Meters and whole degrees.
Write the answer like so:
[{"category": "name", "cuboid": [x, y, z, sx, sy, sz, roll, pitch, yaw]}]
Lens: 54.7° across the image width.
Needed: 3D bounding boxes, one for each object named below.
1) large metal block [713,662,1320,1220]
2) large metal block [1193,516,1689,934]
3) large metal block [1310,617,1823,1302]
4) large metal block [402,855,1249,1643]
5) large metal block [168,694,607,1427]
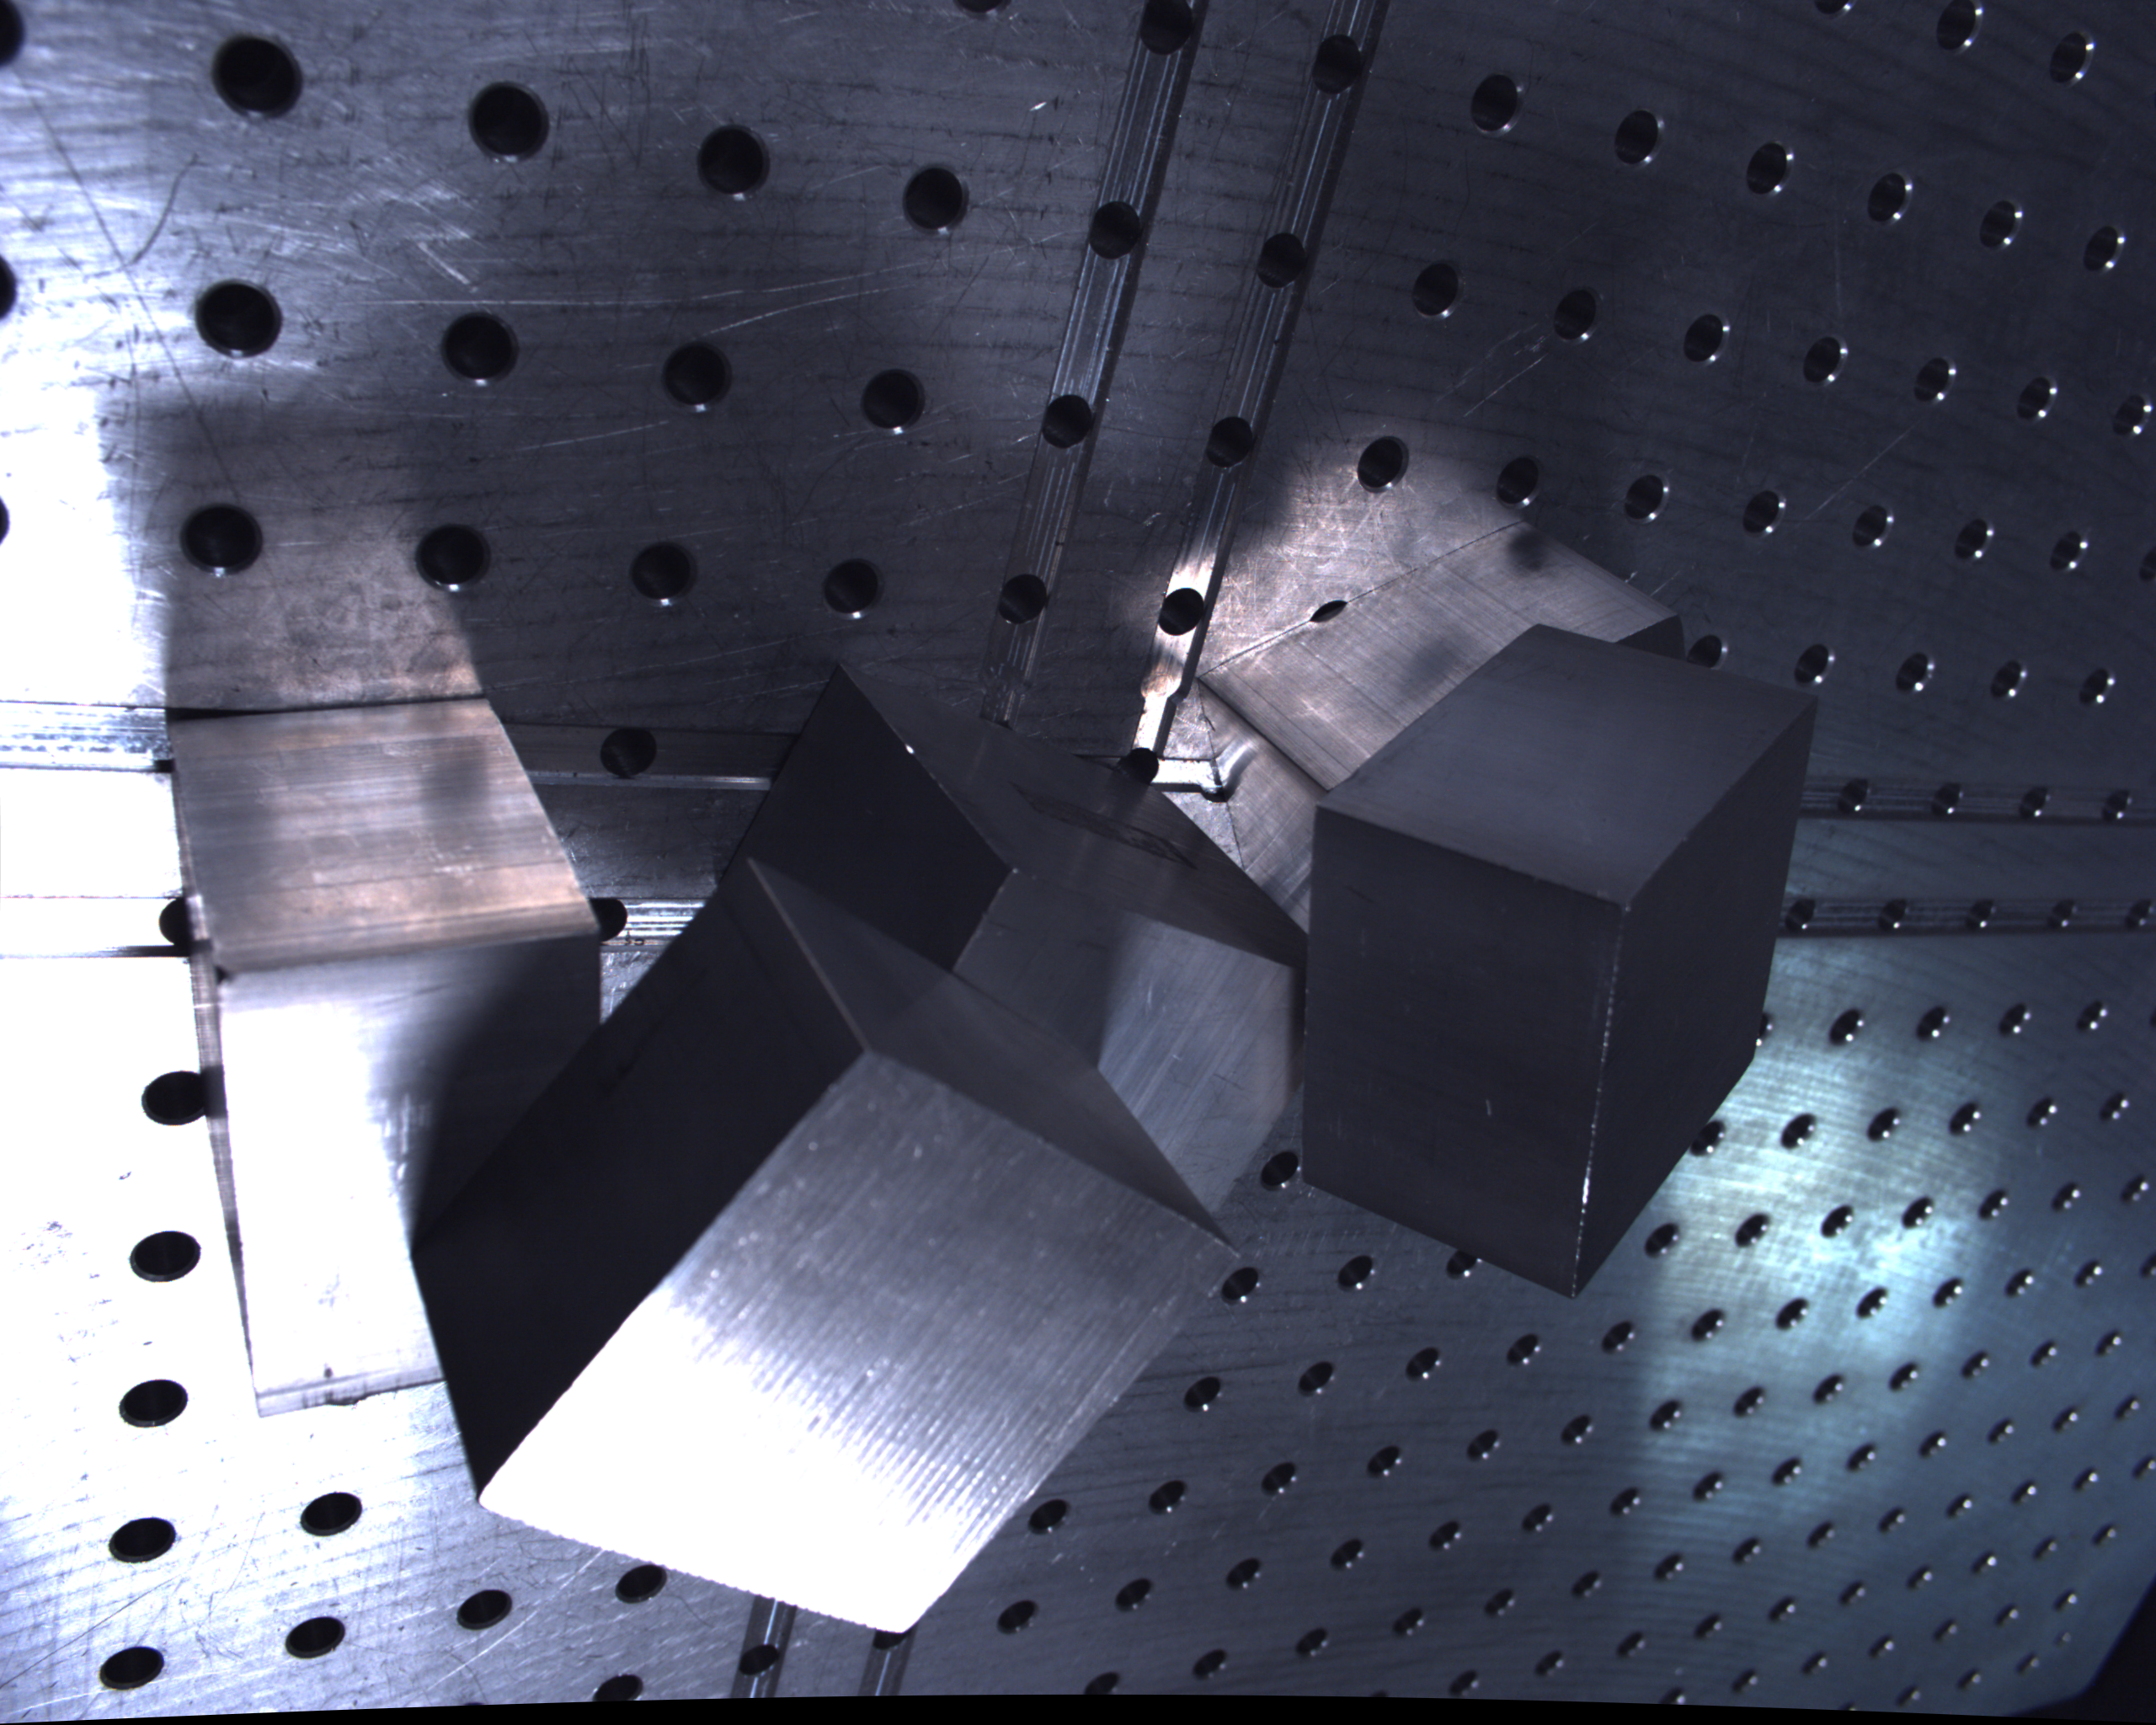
[{"category": "large metal block", "cuboid": [-0.009, 0.014, 0.380, 0.080, 0.080, 0.050, 20, 108, -36]}, {"category": "large metal block", "cuboid": [0.079, -0.013, 0.432, 0.080, 0.050, 0.080, -27, 128, -12]}, {"category": "large metal block", "cuboid": [0.084, 0.014, 0.363, 0.080, 0.050, 0.079, -37, 137, -42]}, {"category": "large metal block", "cuboid": [-0.037, 0.059, 0.307, 0.080, 0.050, 0.080, -49, 129, 6]}, {"category": "large metal block", "cuboid": [-0.111, 0.028, 0.332, 0.050, 0.080, 0.079, -6, 121, -26]}]
